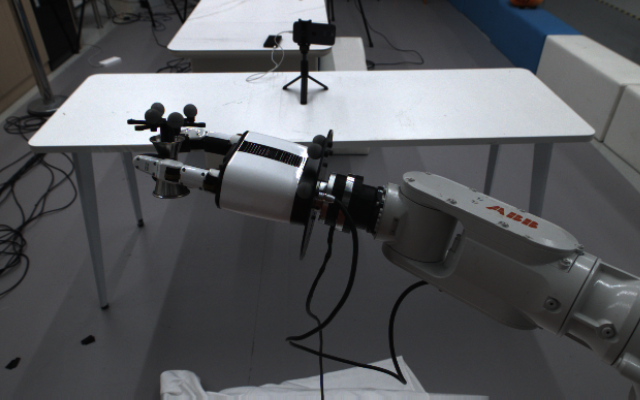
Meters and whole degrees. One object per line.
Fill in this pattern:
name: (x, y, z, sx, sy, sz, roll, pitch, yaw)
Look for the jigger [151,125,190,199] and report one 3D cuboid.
jigger: (-0.179, -0.042, 0.583, 0.043, 0.071, 0.043, 2, 20, -1)
